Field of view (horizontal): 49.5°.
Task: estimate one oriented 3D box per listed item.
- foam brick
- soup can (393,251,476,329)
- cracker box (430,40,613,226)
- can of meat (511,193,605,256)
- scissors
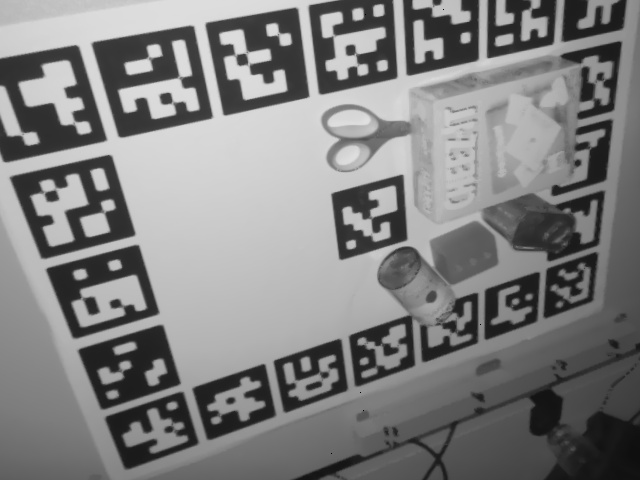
[{"bbox_3d":[0.227,0.022,0.934,0.078,0.051,0.052,-25,120,-8],"label":"foam brick"},{"bbox_3d":[0.154,0.068,0.925,0.067,0.067,0.103,-49,126,6],"label":"soup can"},{"bbox_3d":[0.251,-0.129,0.842,0.216,0.071,0.163,-22,121,-14],"label":"cracker box"},{"bbox_3d":[0.318,-0.024,0.925,0.103,0.083,0.057,-3,114,-19],"label":"can of meat"},{"bbox_3d":[0.128,-0.142,0.825,0.204,0.016,0.087,-20,119,-12],"label":"scissors"}]
